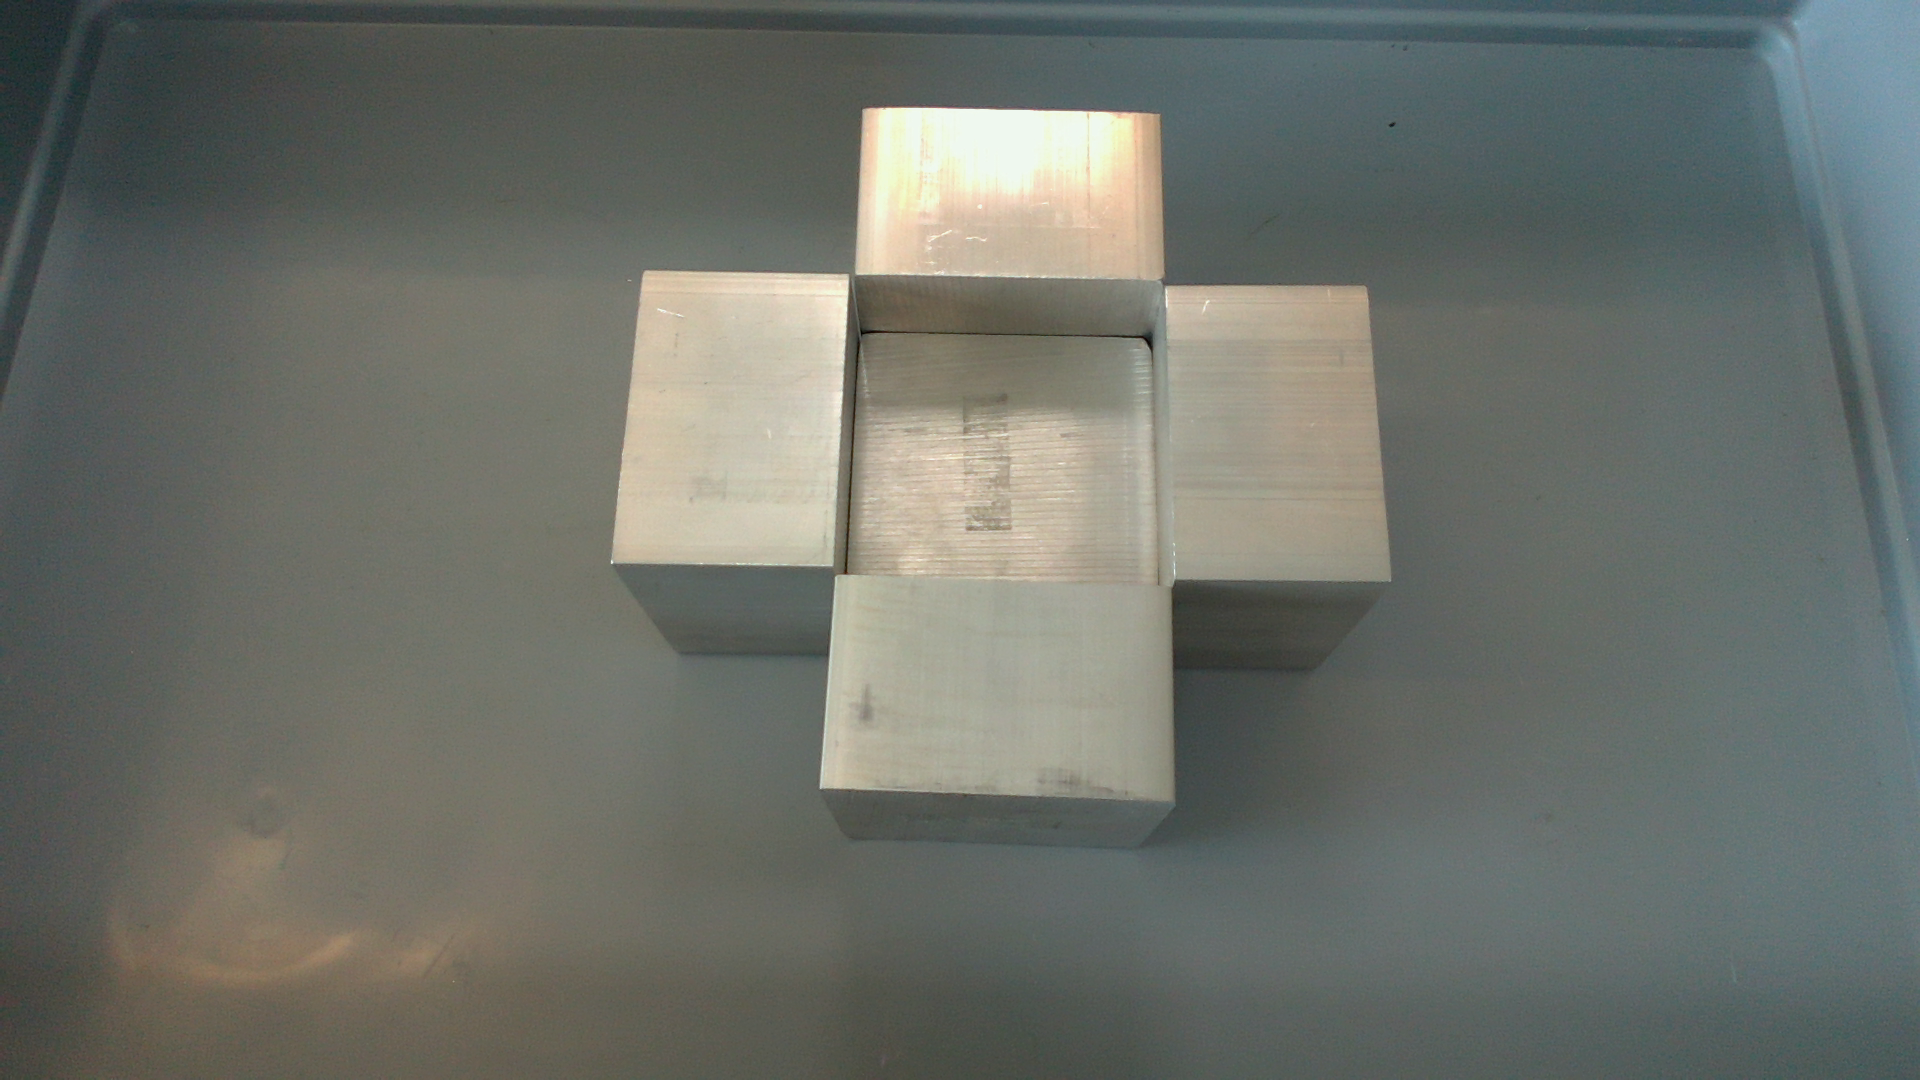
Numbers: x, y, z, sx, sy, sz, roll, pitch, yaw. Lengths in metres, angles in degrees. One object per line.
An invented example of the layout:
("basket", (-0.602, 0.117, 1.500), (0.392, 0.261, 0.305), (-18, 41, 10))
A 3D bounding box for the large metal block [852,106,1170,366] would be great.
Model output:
("large metal block", (0.013, -0.077, 0.392), (0.080, 0.080, 0.050), (1, 70, 0))

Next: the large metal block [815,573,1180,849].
("large metal block", (0.009, 0.046, 0.347), (0.080, 0.080, 0.050), (2, 70, 1))

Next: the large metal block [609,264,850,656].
("large metal block", (-0.056, -0.018, 0.371), (0.050, 0.080, 0.080), (1, 70, 0))

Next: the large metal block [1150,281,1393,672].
("large metal block", (0.076, -0.014, 0.370), (0.050, 0.080, 0.080), (1, 70, 0))

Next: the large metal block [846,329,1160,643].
("large metal block", (0.011, -0.011, 0.383), (0.080, 0.050, 0.080), (1, 70, 0))
